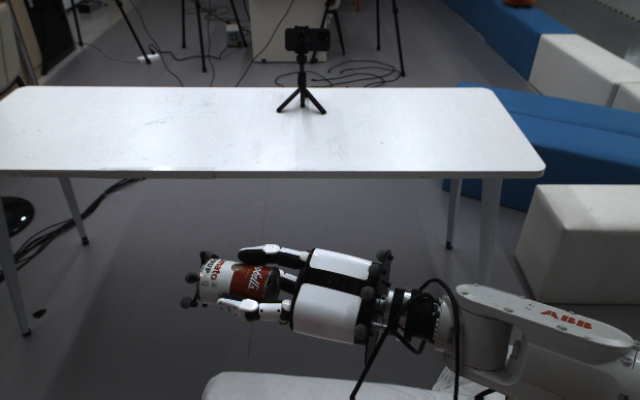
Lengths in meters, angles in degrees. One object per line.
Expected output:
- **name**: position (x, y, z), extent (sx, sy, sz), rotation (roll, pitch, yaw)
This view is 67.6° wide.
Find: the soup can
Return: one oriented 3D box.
- **soup can**: position (-0.112, 0.124, 0.689), extent (0.101, 0.067, 0.067), rotation (6, 35, 13)
